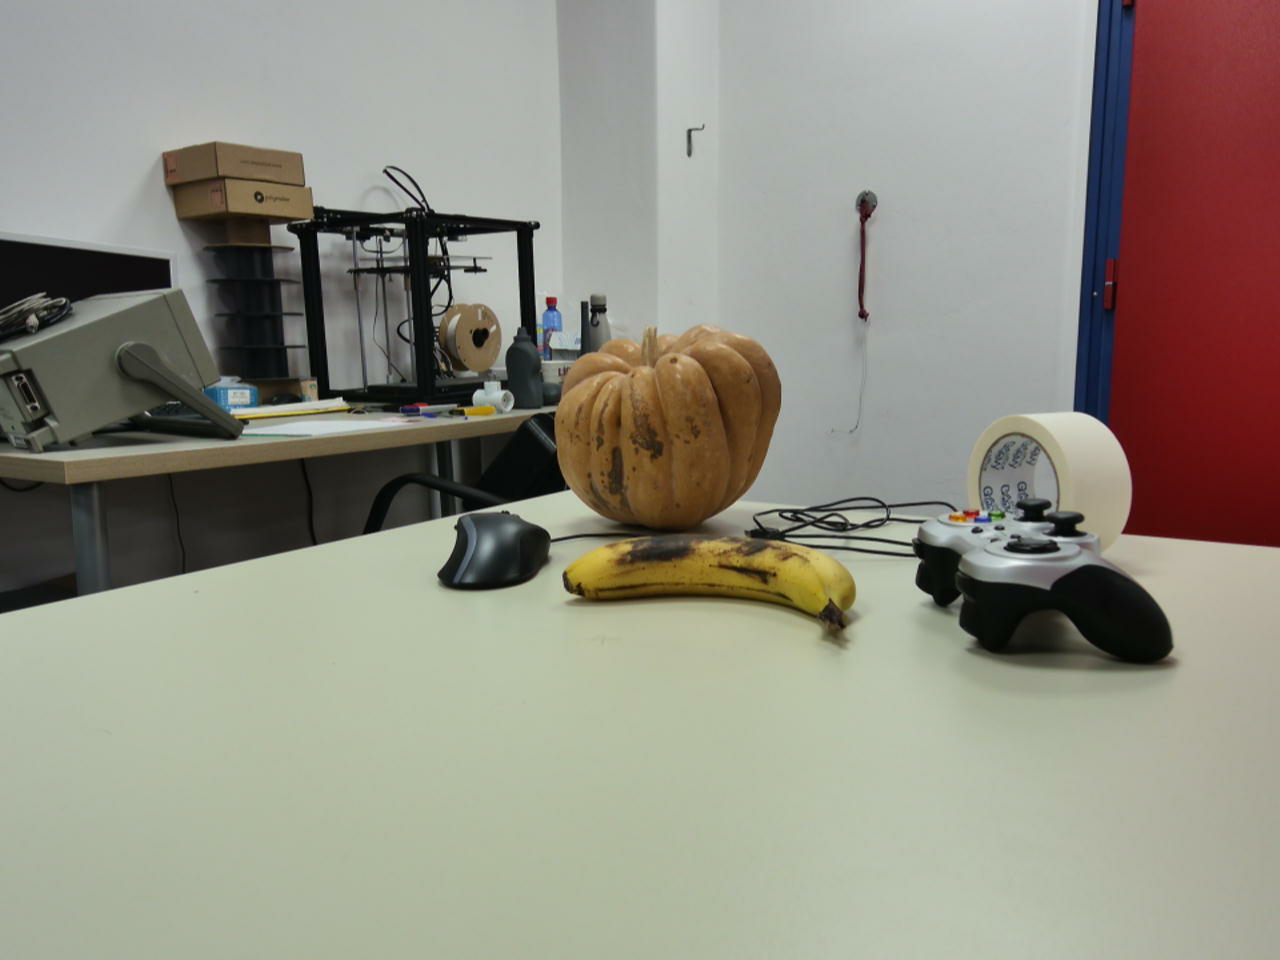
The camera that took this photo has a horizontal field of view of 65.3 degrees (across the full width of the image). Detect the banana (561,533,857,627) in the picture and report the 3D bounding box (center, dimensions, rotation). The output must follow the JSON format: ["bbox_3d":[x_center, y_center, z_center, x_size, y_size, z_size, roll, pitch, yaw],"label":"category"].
[{"bbox_3d":[0.050,0.058,0.611,0.187,0.039,0.094,4,7,33],"label":"banana"}]
